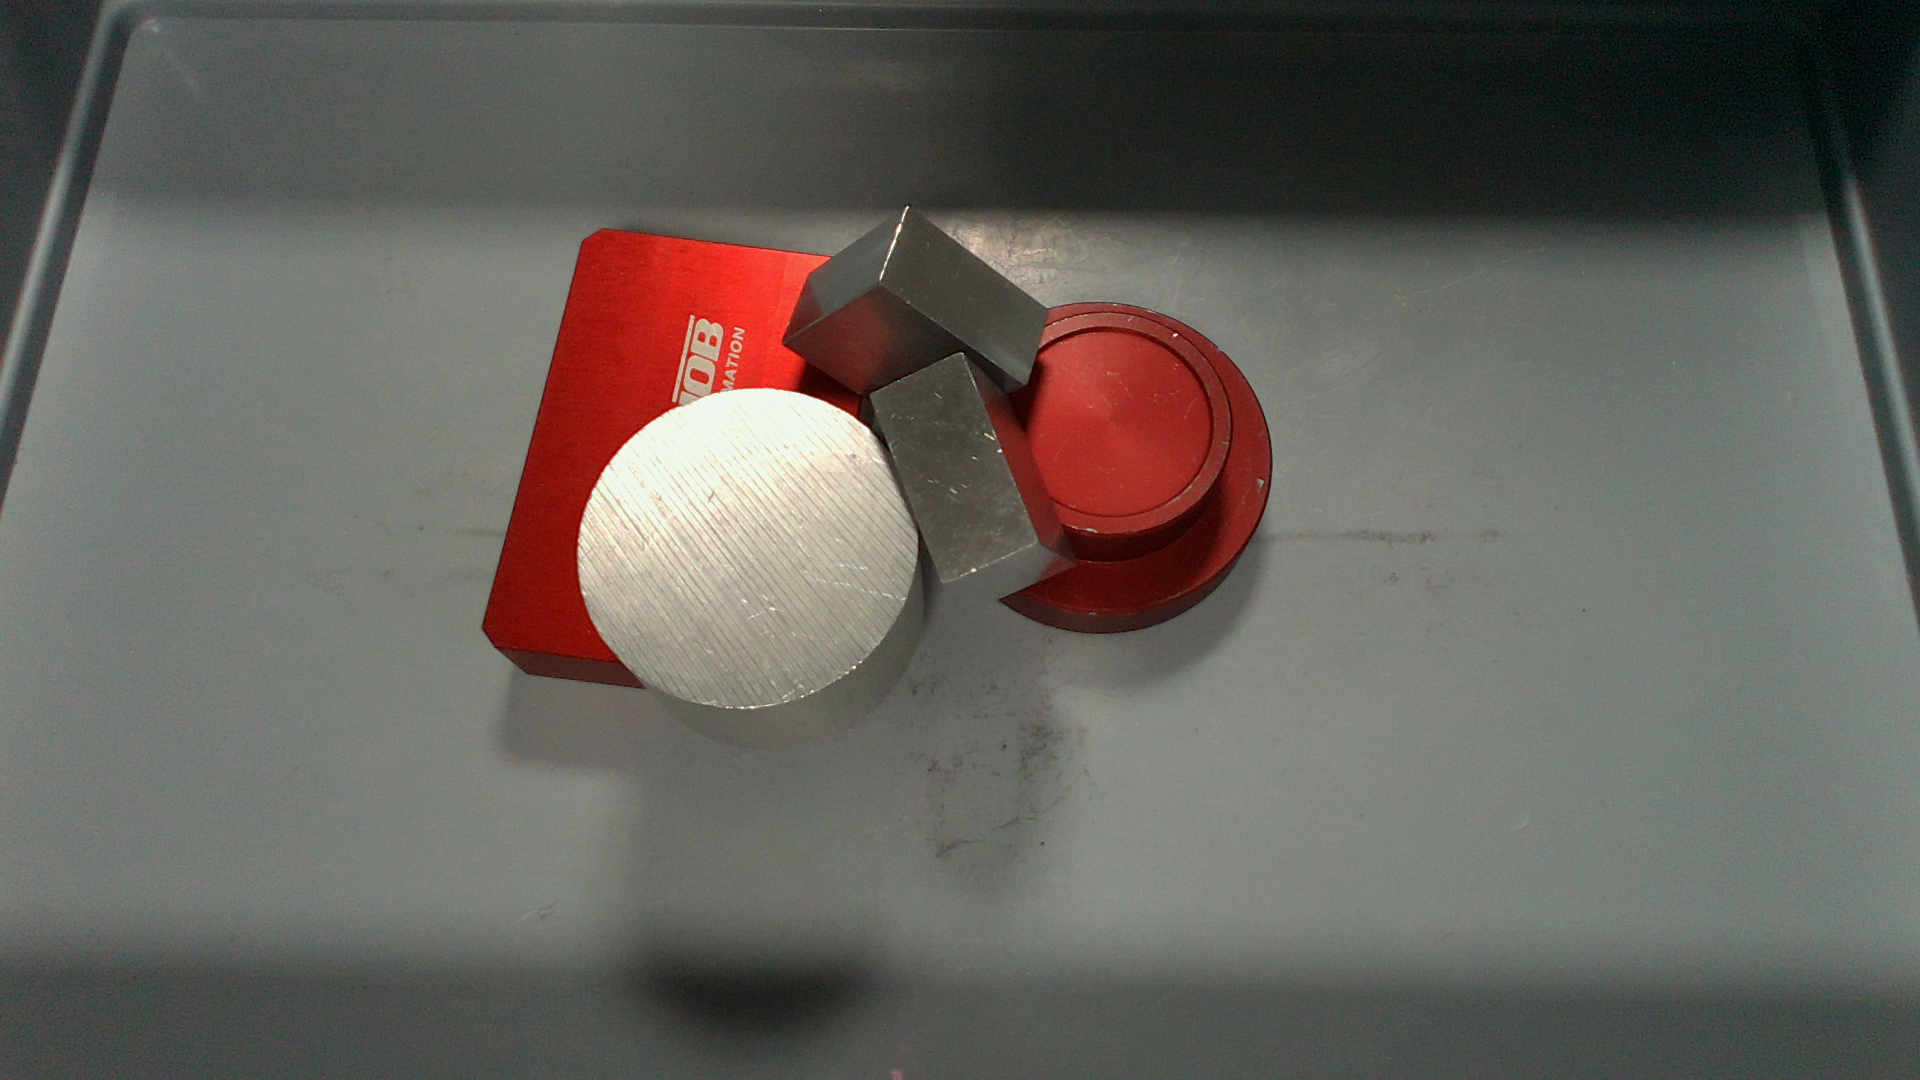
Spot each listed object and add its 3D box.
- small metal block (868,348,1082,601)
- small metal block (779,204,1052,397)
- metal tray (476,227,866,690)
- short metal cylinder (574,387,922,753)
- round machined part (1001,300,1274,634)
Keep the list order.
[{"bbox_3d":[0.005,-0.014,0.344,0.025,0.050,0.050,-24,77,11],"label":"small metal block"},{"bbox_3d":[-0.012,-0.058,0.374,0.050,0.050,0.025,31,62,-28],"label":"small metal block"},{"bbox_3d":[-0.076,-0.022,0.396,0.090,0.030,0.130,7,70,3],"label":"metal tray"},{"bbox_3d":[-0.050,0.009,0.345,0.080,0.050,0.080,0,70,0],"label":"short metal cylinder"},{"bbox_3d":[0.041,-0.026,0.393,0.098,0.042,0.098,0,70,0],"label":"round machined part"}]
